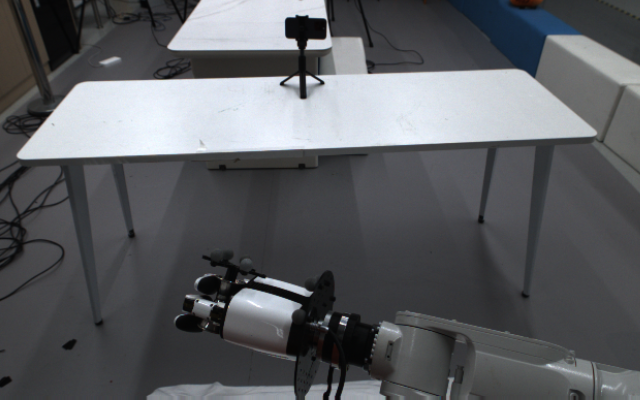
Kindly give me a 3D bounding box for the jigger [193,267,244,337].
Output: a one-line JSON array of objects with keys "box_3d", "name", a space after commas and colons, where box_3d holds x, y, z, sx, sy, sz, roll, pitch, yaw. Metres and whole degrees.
[{"box_3d": [-0.128, 0.136, 0.635, 0.043, 0.071, 0.043, 19, -6, 2], "name": "jigger"}]
